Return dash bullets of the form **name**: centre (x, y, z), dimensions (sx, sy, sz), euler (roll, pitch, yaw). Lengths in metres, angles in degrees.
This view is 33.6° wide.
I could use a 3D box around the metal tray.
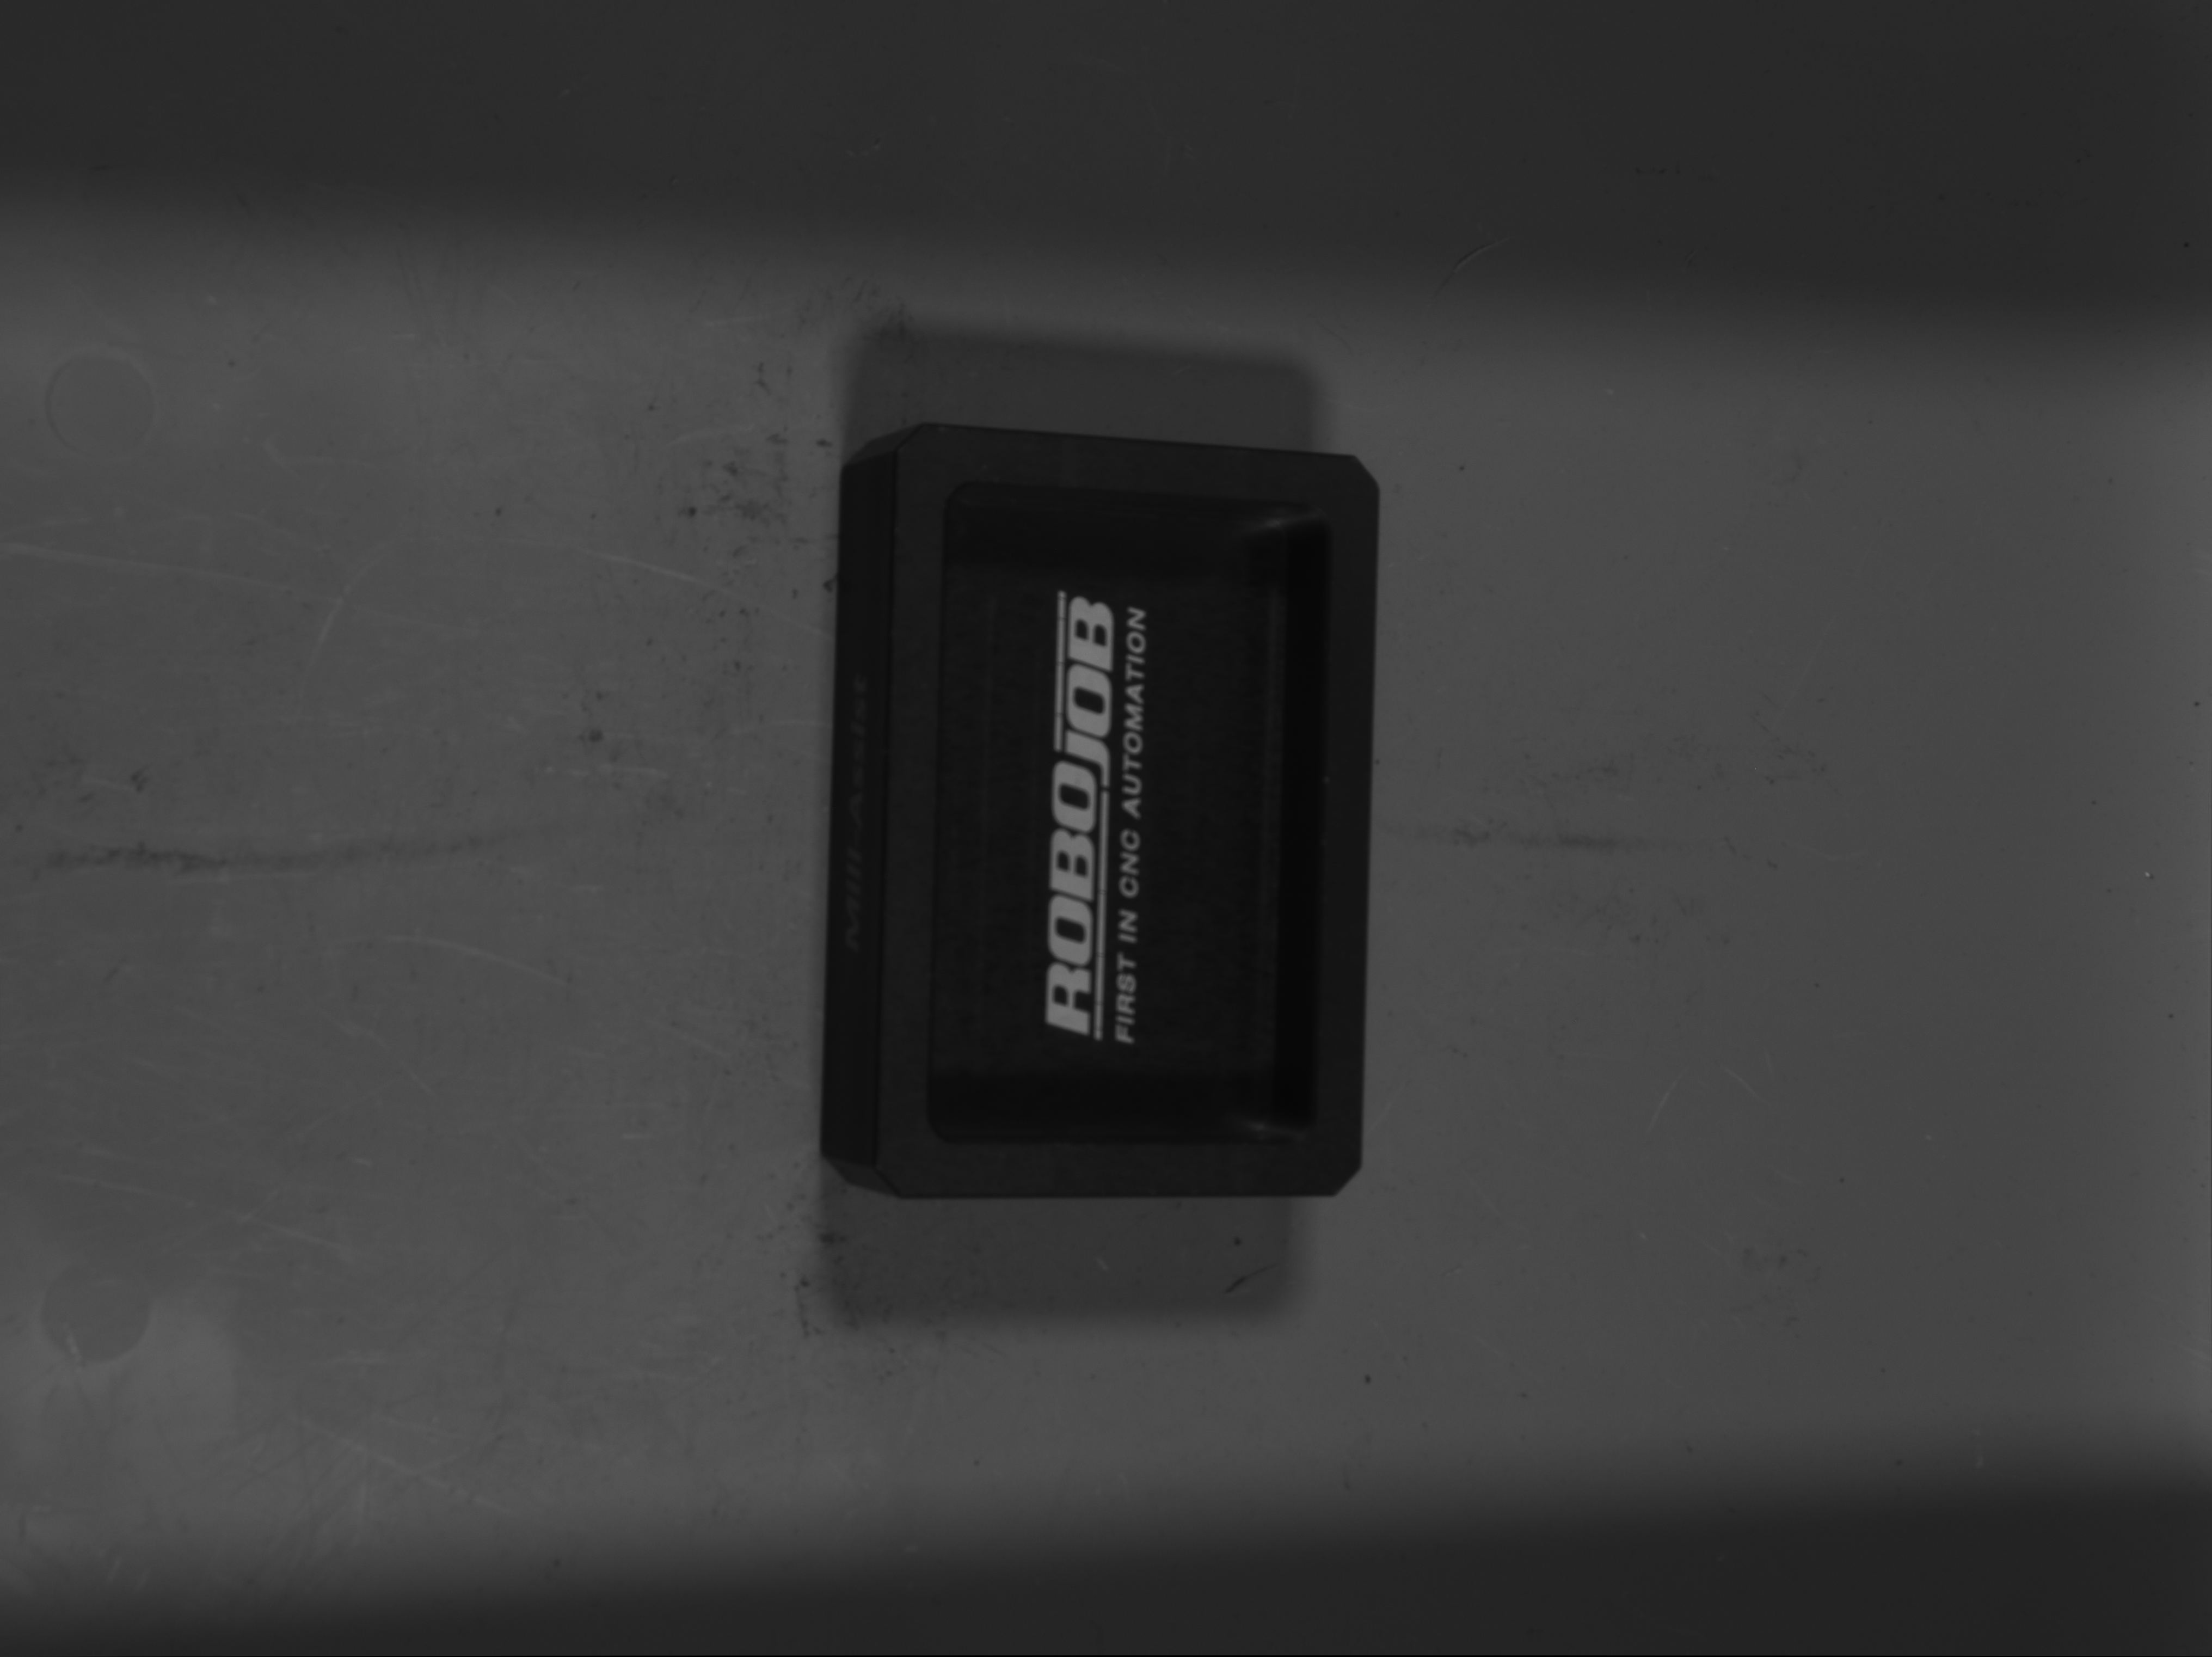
- **metal tray**: centre (0.007, -0.001, 0.640), dimensions (0.090, 0.030, 0.130), euler (2, 89, -20)
